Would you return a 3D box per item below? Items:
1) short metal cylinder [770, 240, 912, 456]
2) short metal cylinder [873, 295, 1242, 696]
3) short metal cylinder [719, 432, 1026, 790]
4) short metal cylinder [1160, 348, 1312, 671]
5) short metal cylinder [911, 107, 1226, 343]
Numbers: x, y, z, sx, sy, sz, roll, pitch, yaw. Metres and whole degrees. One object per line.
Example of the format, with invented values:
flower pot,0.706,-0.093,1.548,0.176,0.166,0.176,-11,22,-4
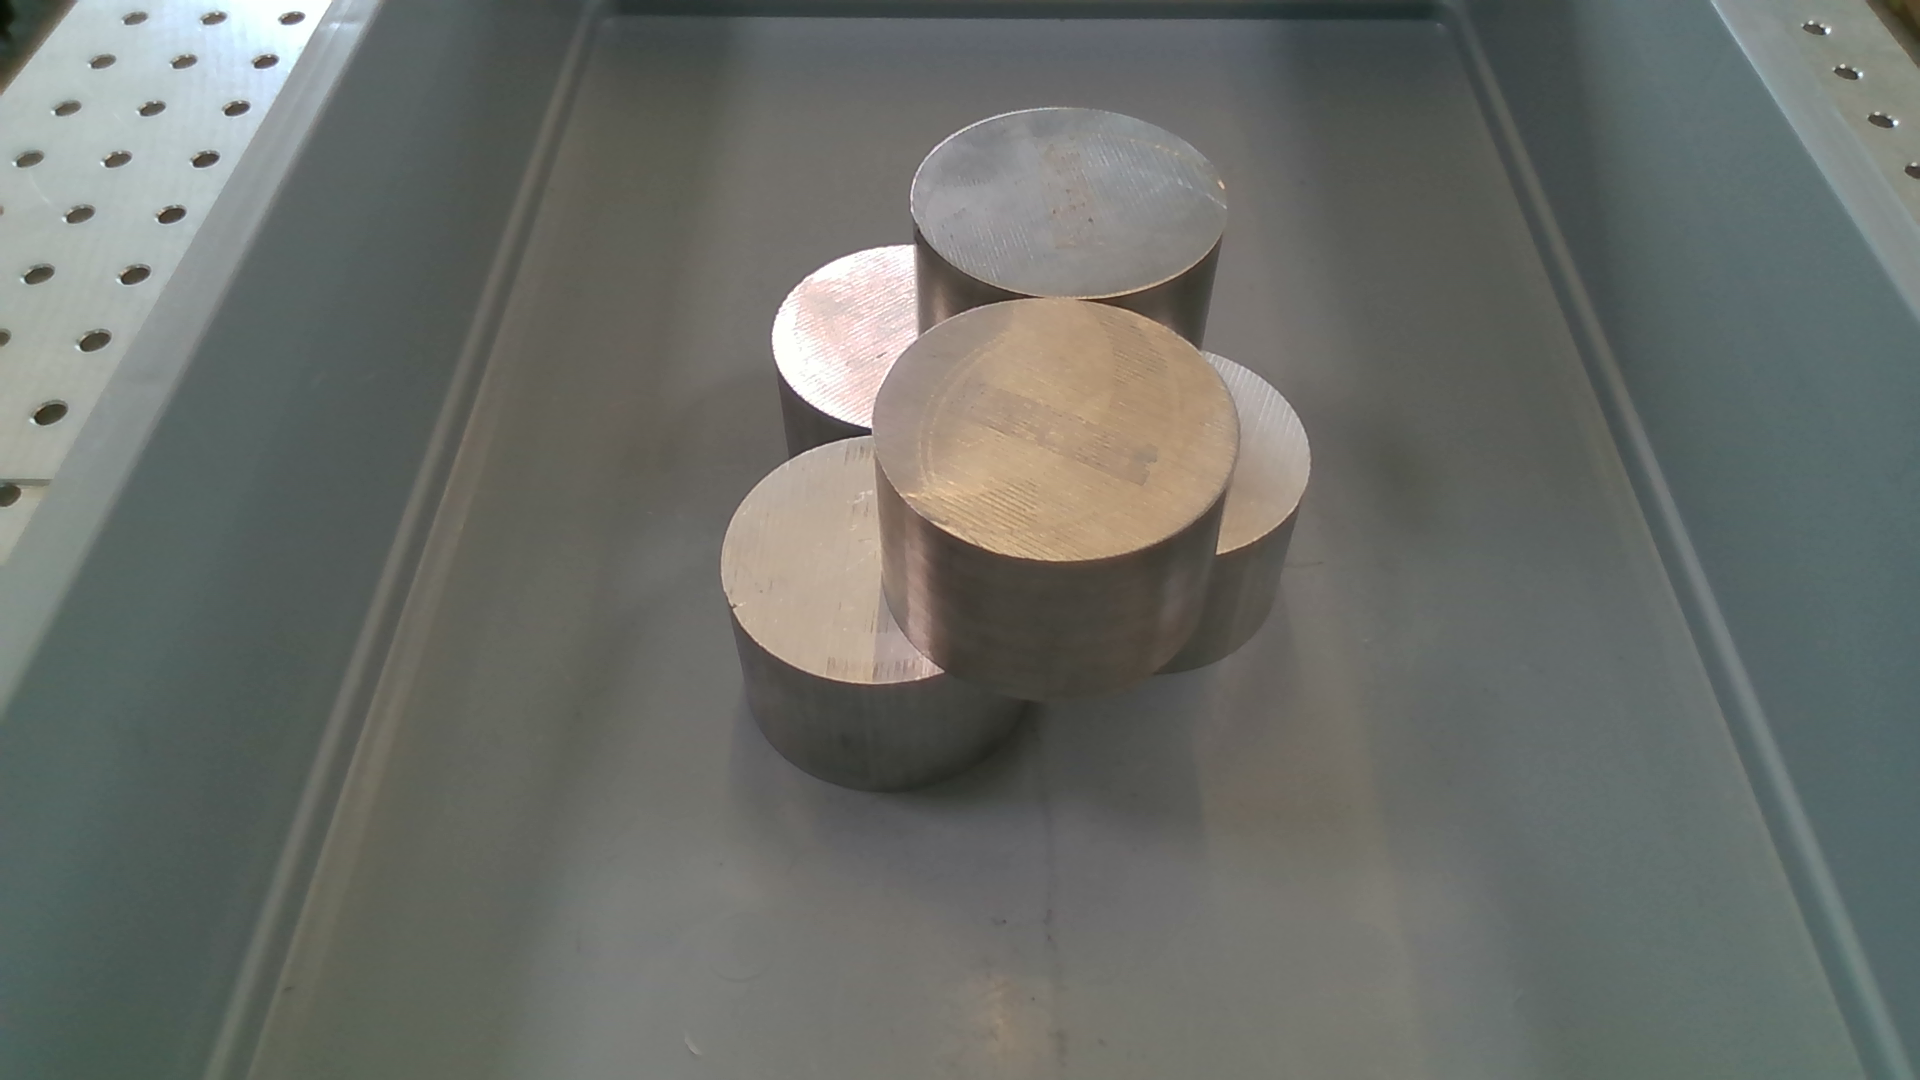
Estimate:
short metal cylinder,-0.014,-0.045,0.413,0.080,0.050,0.080,0,50,0
short metal cylinder,0.021,-0.011,0.319,0.080,0.050,0.080,0,50,0
short metal cylinder,-0.020,0.018,0.361,0.080,0.050,0.080,0,50,0
short metal cylinder,0.053,-0.010,0.385,0.080,0.050,0.080,0,50,0
short metal cylinder,0.028,-0.072,0.371,0.080,0.050,0.080,0,50,0
